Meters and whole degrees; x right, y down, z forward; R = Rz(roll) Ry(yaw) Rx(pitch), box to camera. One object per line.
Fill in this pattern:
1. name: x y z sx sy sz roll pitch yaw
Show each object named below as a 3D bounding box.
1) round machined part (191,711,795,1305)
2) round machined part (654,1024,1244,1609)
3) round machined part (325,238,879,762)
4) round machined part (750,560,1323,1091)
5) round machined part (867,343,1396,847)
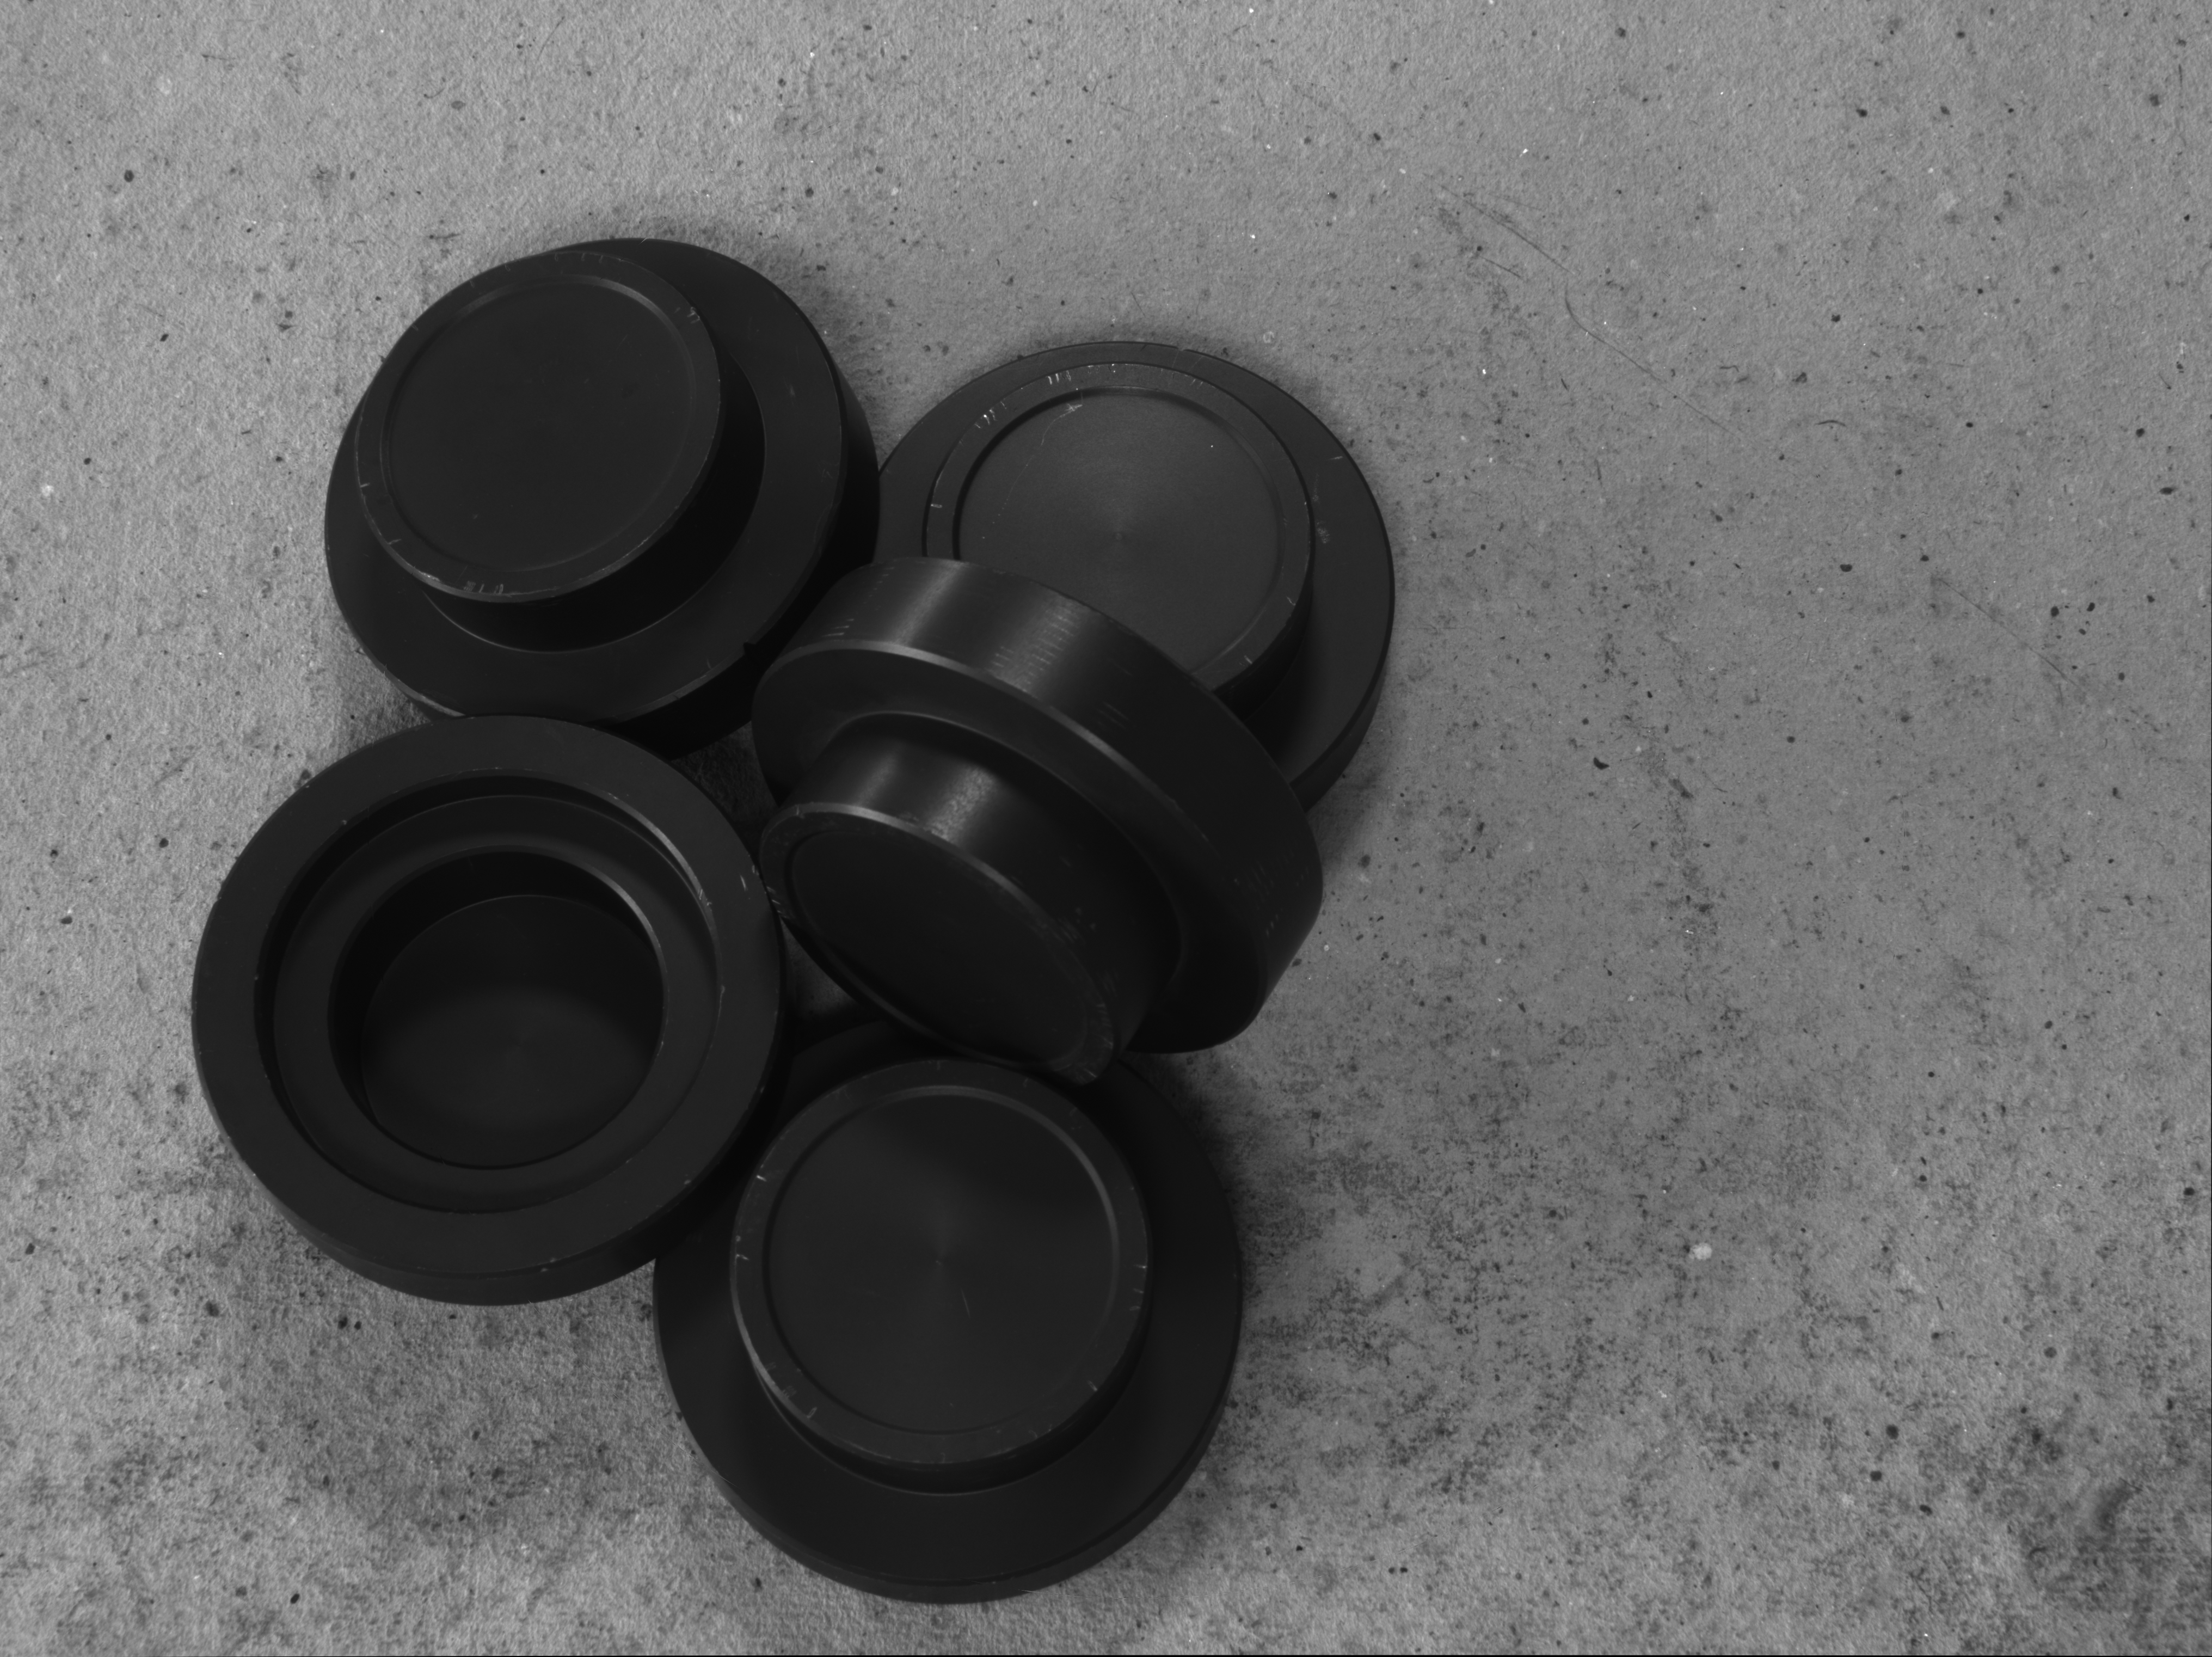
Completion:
1. round machined part: -0.102 0.033 0.624 0.098 0.042 0.098 0 71 0
2. round machined part: -0.026 0.077 0.607 0.098 0.042 0.098 0 68 -1
3. round machined part: -0.093 -0.062 0.647 0.098 0.042 0.098 -5 67 13
4. round machined part: -0.017 0.006 0.601 0.098 0.098 0.042 28 59 10
5. round machined part: 0.003 -0.044 0.651 0.098 0.042 0.098 0 69 -1
